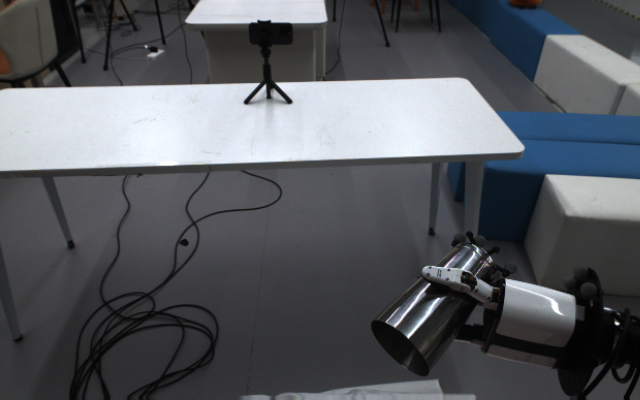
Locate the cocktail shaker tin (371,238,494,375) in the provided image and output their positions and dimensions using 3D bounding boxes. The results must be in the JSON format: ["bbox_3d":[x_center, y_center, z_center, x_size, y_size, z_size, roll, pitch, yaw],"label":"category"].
[{"bbox_3d":[0.156,0.127,0.633,0.170,0.093,0.093,-38,49,-23],"label":"cocktail shaker tin"}]
